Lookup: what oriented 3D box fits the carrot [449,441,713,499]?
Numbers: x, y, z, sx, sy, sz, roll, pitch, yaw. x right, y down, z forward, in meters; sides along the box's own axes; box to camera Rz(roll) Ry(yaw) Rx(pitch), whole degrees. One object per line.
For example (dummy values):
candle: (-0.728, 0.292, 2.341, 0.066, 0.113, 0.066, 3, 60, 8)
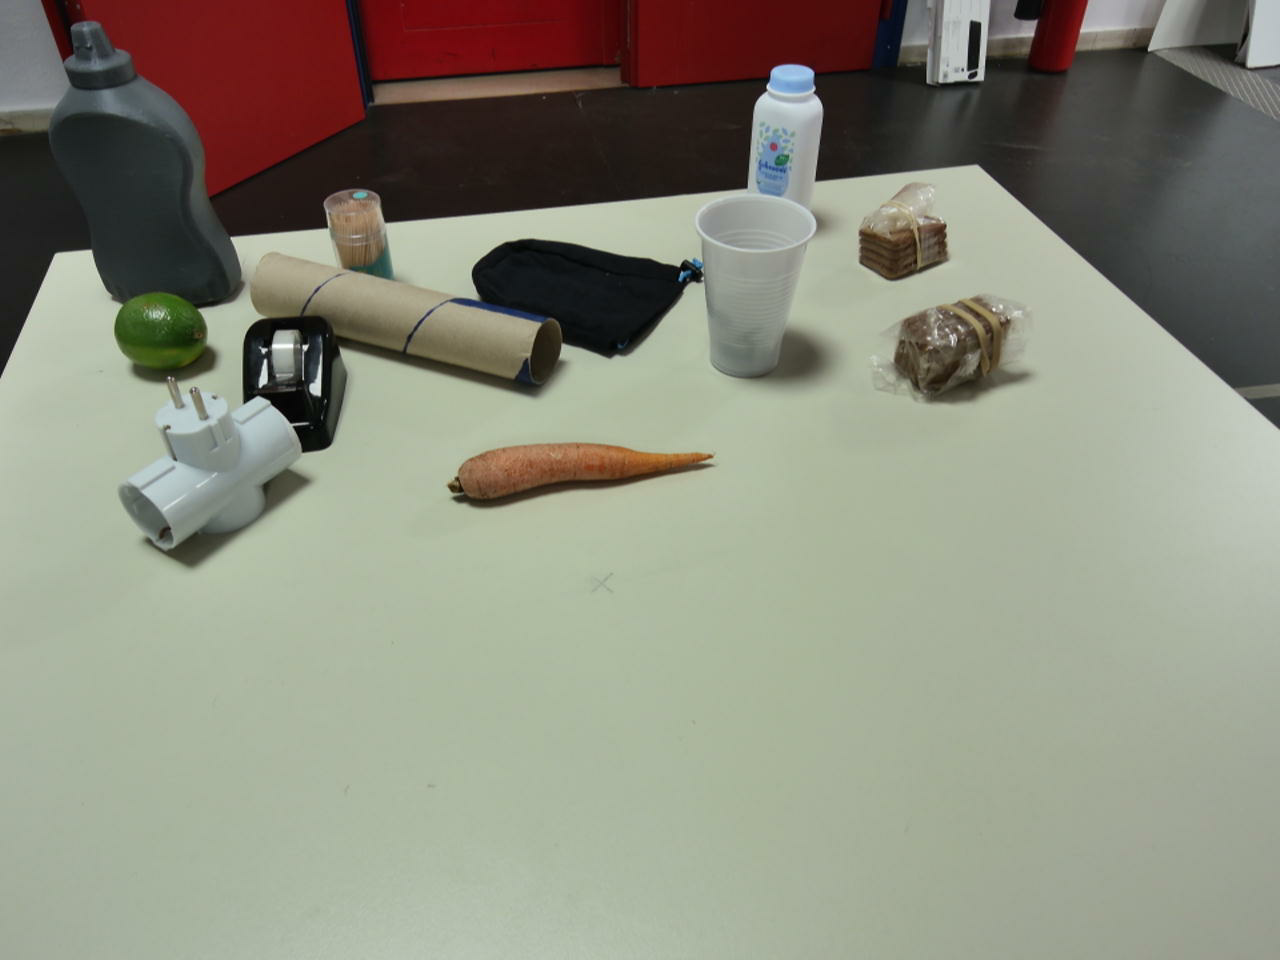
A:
carrot: (-0.036, -0.011, 0.613, 0.163, 0.029, 0.031, -8, 40, -10)
